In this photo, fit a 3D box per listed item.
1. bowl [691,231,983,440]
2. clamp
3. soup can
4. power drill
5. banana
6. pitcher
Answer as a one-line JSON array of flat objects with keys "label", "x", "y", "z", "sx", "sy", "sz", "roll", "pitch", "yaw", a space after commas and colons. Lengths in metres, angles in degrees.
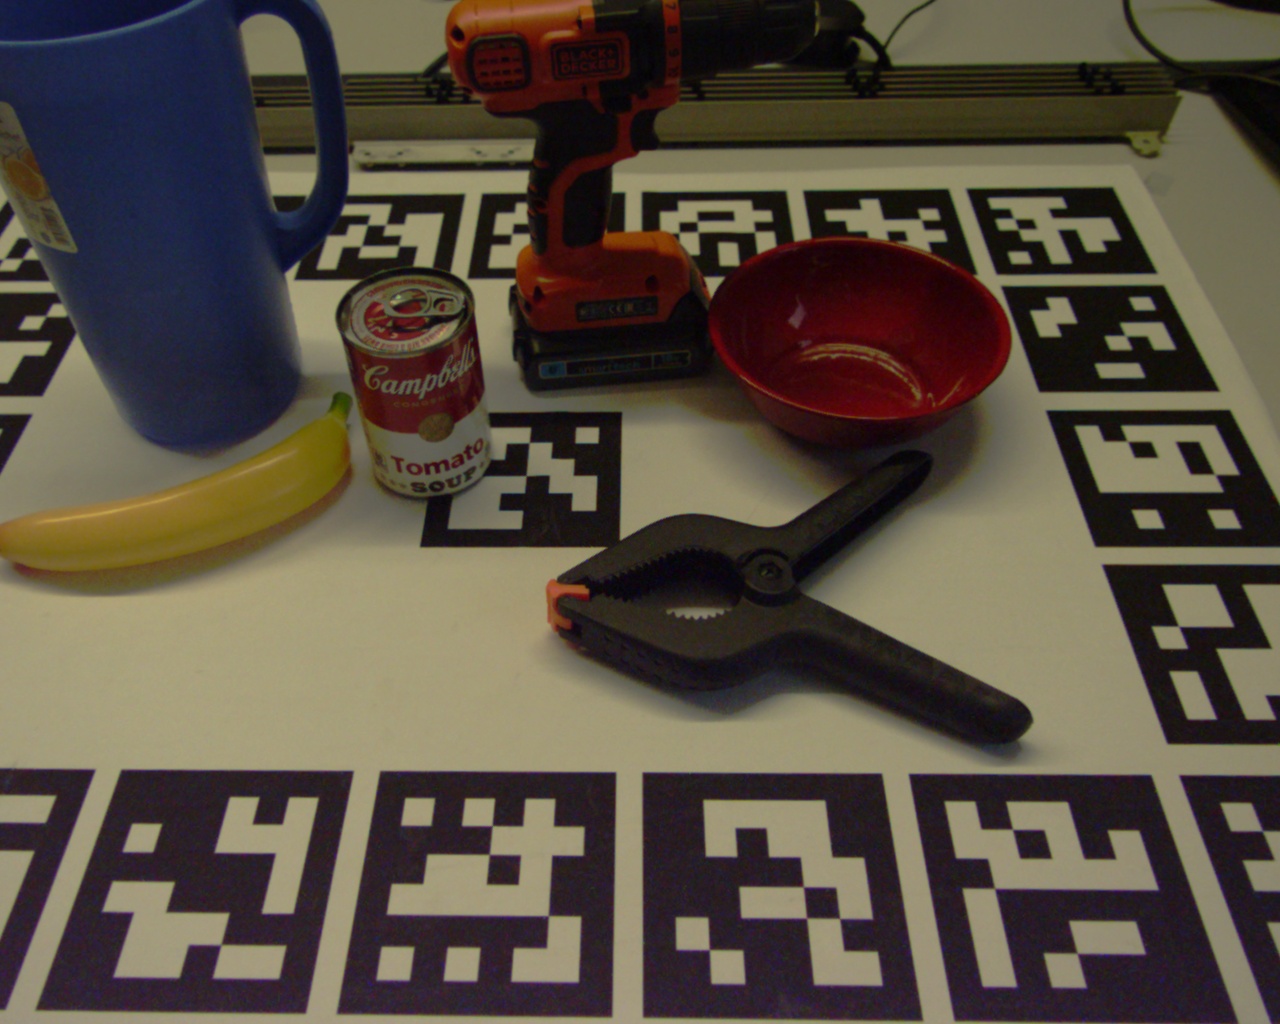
[{"label": "bowl", "x": 0.109, "y": -0.093, "z": 0.658, "sx": 0.162, "sy": 0.055, "sz": 0.162, "roll": -1, "pitch": 50, "yaw": 1}, {"label": "clamp", "x": 0.055, "y": 0.029, "z": 0.554, "sx": 0.202, "sy": 0.036, "sz": 0.166, "roll": -4, "pitch": 52, "yaw": -1}, {"label": "soup can", "x": -0.116, "y": -0.072, "z": 0.617, "sx": 0.068, "sy": 0.101, "sz": 0.068, "roll": -1, "pitch": 40, "yaw": 0}, {"label": "power drill", "x": -0.002, "y": -0.189, "z": 0.635, "sx": 0.184, "sy": 0.186, "sz": 0.058, "roll": -5, "pitch": 49, "yaw": -4}, {"label": "banana", "x": -0.238, "y": -0.009, "z": 0.609, "sx": 0.196, "sy": 0.038, "sz": 0.075, "roll": -20, "pitch": 43, "yaw": -18}, {"label": "pitcher", "x": -0.239, "y": -0.162, "z": 0.607, "sx": 0.187, "sy": 0.241, "sz": 0.135, "roll": -20, "pitch": 48, "yaw": -16}]
